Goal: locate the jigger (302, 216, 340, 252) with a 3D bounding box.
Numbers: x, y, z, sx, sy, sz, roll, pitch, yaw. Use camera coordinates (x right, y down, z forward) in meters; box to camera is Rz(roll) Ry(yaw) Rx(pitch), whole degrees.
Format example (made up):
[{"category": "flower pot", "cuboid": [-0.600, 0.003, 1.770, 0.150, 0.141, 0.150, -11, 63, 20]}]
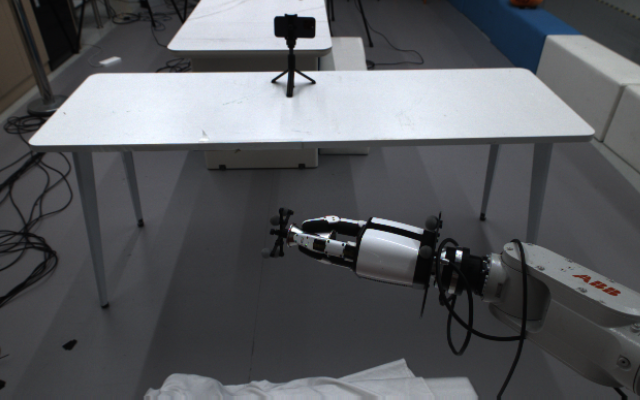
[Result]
[{"category": "jigger", "cuboid": [-0.008, 0.058, 0.755, 0.071, 0.043, 0.043, 10, 35, 16]}]
